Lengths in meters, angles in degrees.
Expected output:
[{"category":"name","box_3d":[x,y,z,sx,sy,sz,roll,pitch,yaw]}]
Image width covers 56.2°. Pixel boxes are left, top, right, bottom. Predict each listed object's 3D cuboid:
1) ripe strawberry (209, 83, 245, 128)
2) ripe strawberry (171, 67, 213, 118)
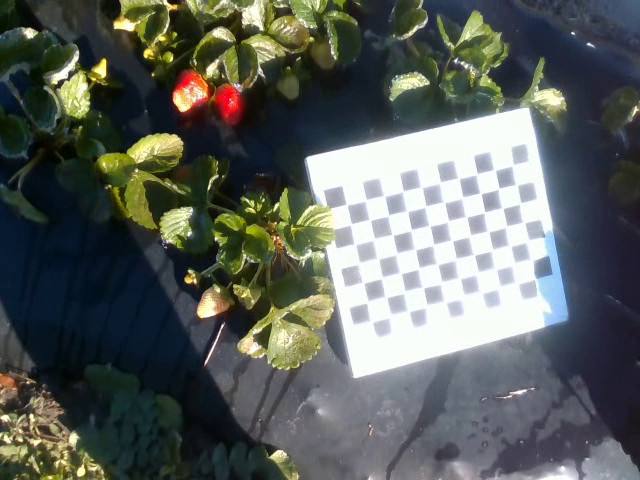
[{"category":"ripe strawberry","box_3d":[-0.127,-0.190,0.819,0.043,0.059,0.040,-13,-1,-7]},{"category":"ripe strawberry","box_3d":[-0.180,-0.201,0.821,0.052,0.070,0.040,34,-10,-15]}]
